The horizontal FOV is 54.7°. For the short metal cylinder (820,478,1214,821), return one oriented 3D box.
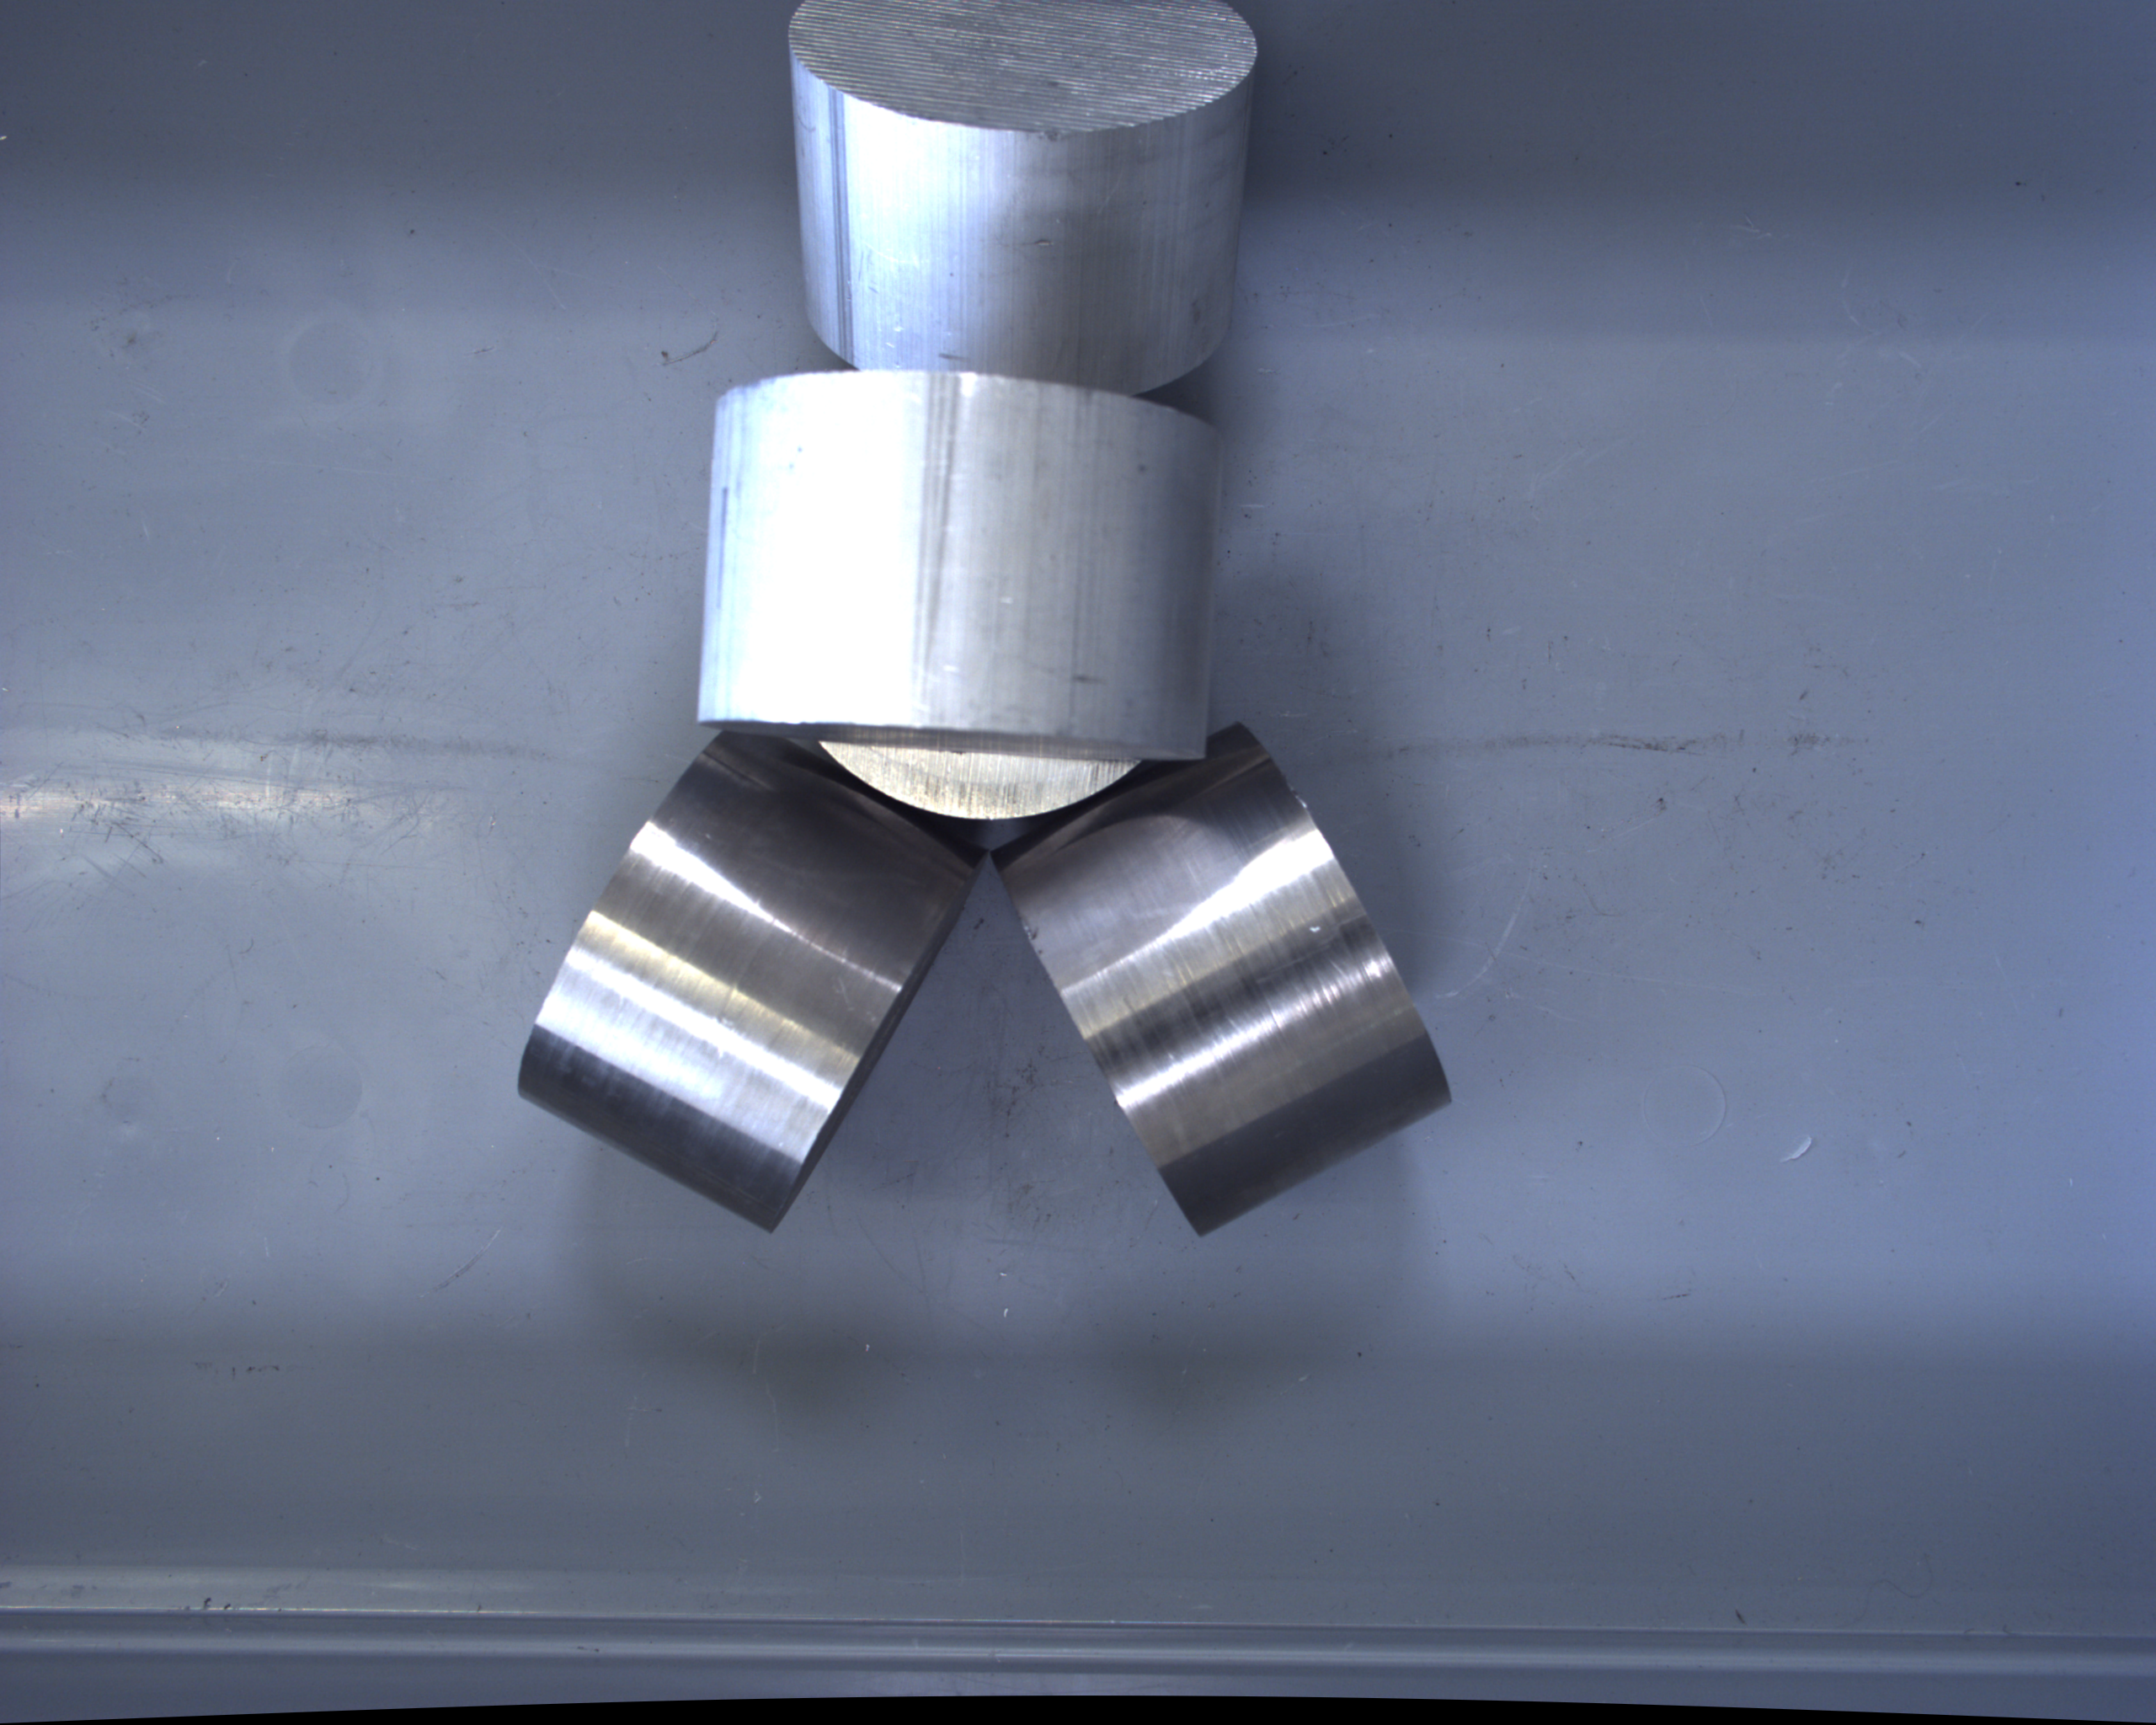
[{"bbox_3d":[-0.016,-0.047,0.396,0.081,0.050,0.080,0,90,0],"label":"short metal cylinder"}]

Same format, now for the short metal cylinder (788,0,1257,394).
[{"bbox_3d":[-0.011,-0.125,0.376,0.080,0.080,0.050,4,133,0],"label":"short metal cylinder"}]

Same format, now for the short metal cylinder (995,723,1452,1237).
[{"bbox_3d":[0.026,0.021,0.382,0.050,0.080,0.080,-29,90,1],"label":"short metal cylinder"}]

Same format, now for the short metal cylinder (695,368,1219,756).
[{"bbox_3d":[-0.019,-0.044,0.332,0.080,0.080,0.050,3,90,0],"label":"short metal cylinder"}]

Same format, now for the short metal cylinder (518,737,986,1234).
[{"bbox_3d":[-0.058,0.021,0.381,0.050,0.080,0.080,29,90,0],"label":"short metal cylinder"}]
